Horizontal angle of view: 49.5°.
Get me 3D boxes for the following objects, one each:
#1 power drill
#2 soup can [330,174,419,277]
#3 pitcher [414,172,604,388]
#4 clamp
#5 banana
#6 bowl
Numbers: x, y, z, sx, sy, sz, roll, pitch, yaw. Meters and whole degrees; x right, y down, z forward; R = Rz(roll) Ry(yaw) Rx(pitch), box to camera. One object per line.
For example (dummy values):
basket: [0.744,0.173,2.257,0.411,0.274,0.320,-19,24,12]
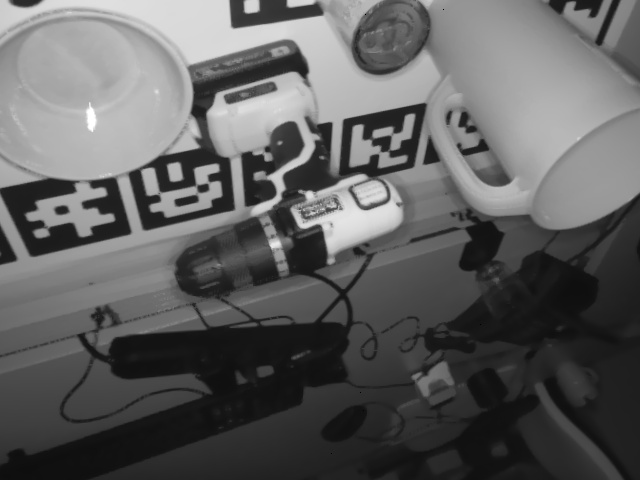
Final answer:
power drill: [-0.031,0.122,0.783,0.186,0.187,0.057,-18,143,-9]
soup can: [0.059,-0.015,0.775,0.068,0.102,0.067,-18,151,-9]
pitcher: [0.197,0.045,0.810,0.188,0.243,0.133,-30,146,6]
clamp: [-0.107,-0.064,0.658,0.204,0.036,0.164,-17,138,-12]
banana: [0.165,-0.103,0.787,0.196,0.039,0.074,-30,152,7]
bowl: [-0.163,0.053,0.762,0.163,0.055,0.160,-17,141,-13]
